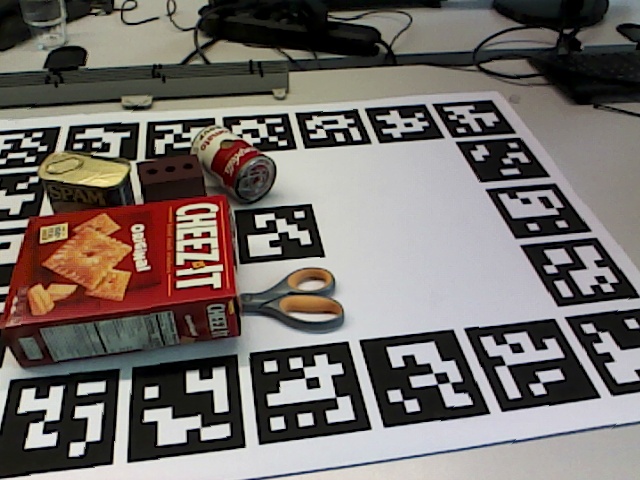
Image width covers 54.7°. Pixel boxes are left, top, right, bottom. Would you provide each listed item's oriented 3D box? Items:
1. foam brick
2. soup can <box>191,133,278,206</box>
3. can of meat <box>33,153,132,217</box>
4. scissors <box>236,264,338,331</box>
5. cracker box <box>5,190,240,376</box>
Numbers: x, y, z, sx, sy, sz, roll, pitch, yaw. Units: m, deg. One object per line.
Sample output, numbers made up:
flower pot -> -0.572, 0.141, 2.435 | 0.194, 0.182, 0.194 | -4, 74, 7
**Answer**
foam brick -> -0.192, -0.069, 0.793 | 0.078, 0.051, 0.053 | -13, 46, -16
soup can -> -0.116, -0.096, 0.823 | 0.103, 0.067, 0.067 | 30, 50, 32
can of meat -> -0.279, -0.052, 0.744 | 0.102, 0.083, 0.058 | 5, 44, 2
scissors -> -0.086, 0.071, 0.659 | 0.202, 0.016, 0.088 | -9, 45, -11
cracker box -> -0.204, 0.035, 0.647 | 0.213, 0.072, 0.165 | -11, 44, -9
